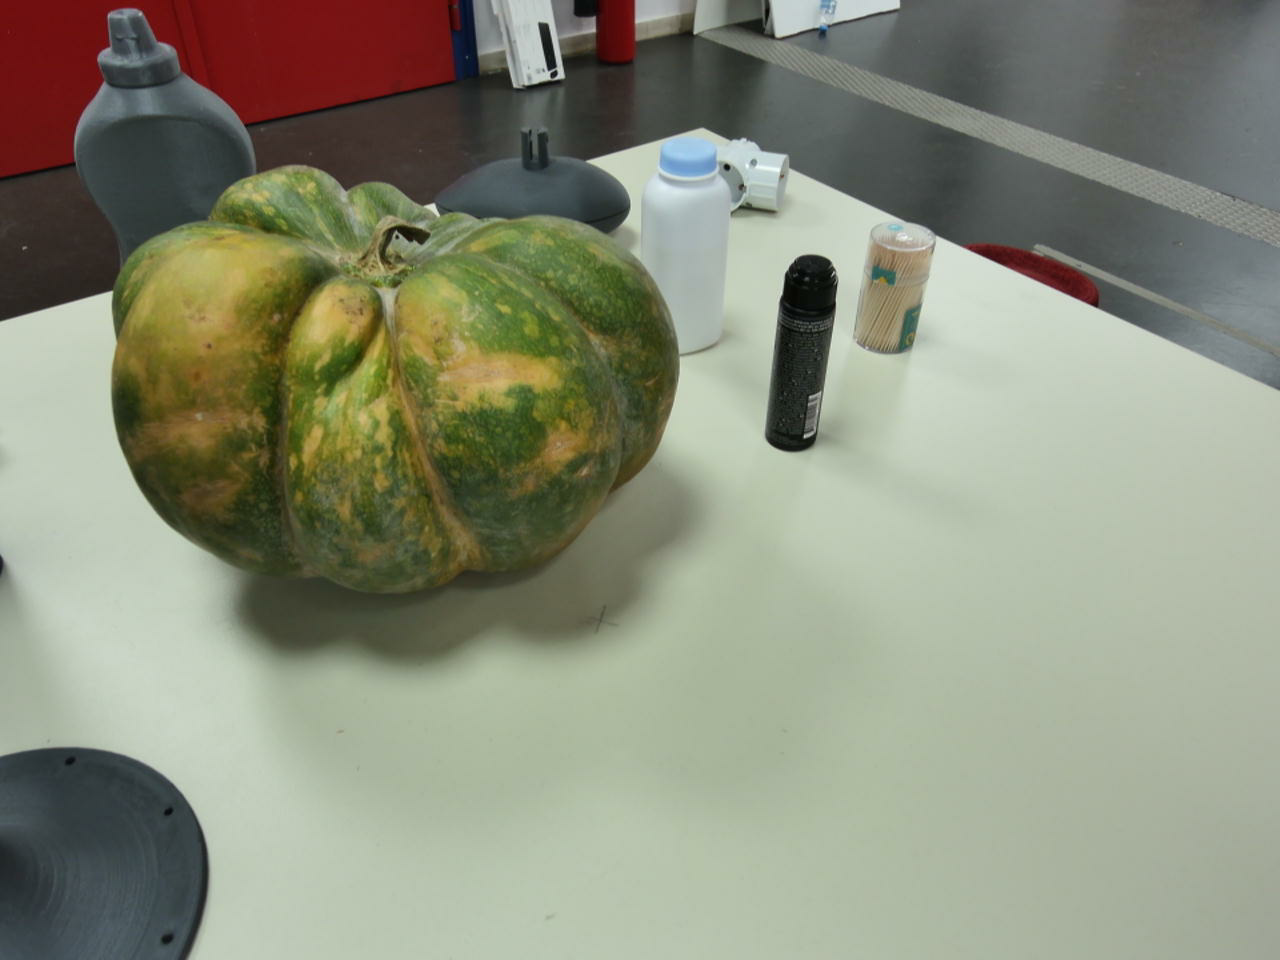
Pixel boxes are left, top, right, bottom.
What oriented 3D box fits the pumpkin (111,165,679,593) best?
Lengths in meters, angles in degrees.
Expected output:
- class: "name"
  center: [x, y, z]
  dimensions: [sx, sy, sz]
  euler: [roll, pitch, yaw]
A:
- class: "pumpkin"
  center: [-0.118, -0.056, 0.477]
  dimensions: [0.270, 0.173, 0.237]
  euler: [0, 38, -1]
